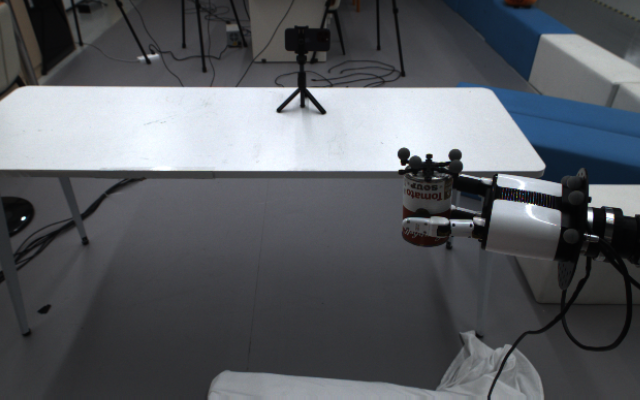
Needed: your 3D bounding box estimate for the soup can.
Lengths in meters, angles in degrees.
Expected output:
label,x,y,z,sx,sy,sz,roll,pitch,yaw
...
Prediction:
label,x,y,z,sx,sy,sz,roll,pitch,yaw
soup can,0.152,0.003,0.678,0.067,0.101,0.067,-3,27,2
